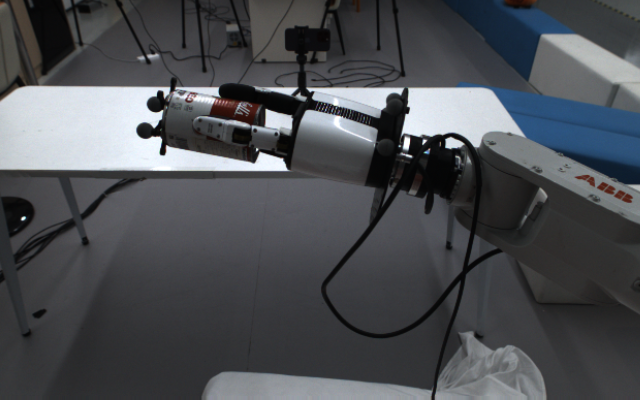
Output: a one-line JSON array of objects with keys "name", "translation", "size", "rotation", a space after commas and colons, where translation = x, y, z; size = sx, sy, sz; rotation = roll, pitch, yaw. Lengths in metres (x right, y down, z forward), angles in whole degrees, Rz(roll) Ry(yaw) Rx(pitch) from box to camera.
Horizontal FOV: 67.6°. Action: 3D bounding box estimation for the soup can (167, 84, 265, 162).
[{"name": "soup can", "translation": [-0.117, -0.084, 0.554], "size": [0.101, 0.067, 0.067], "rotation": [11, 35, 0]}]
